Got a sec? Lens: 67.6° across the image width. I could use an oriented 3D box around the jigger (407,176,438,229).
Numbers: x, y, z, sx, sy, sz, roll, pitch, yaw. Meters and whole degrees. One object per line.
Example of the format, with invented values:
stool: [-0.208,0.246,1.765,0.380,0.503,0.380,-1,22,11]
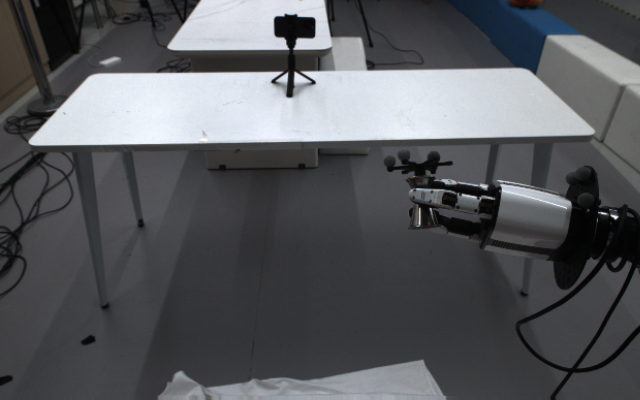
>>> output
jigger: [0.138,0.003,0.655,0.043,0.071,0.043,-2,-7,0]
